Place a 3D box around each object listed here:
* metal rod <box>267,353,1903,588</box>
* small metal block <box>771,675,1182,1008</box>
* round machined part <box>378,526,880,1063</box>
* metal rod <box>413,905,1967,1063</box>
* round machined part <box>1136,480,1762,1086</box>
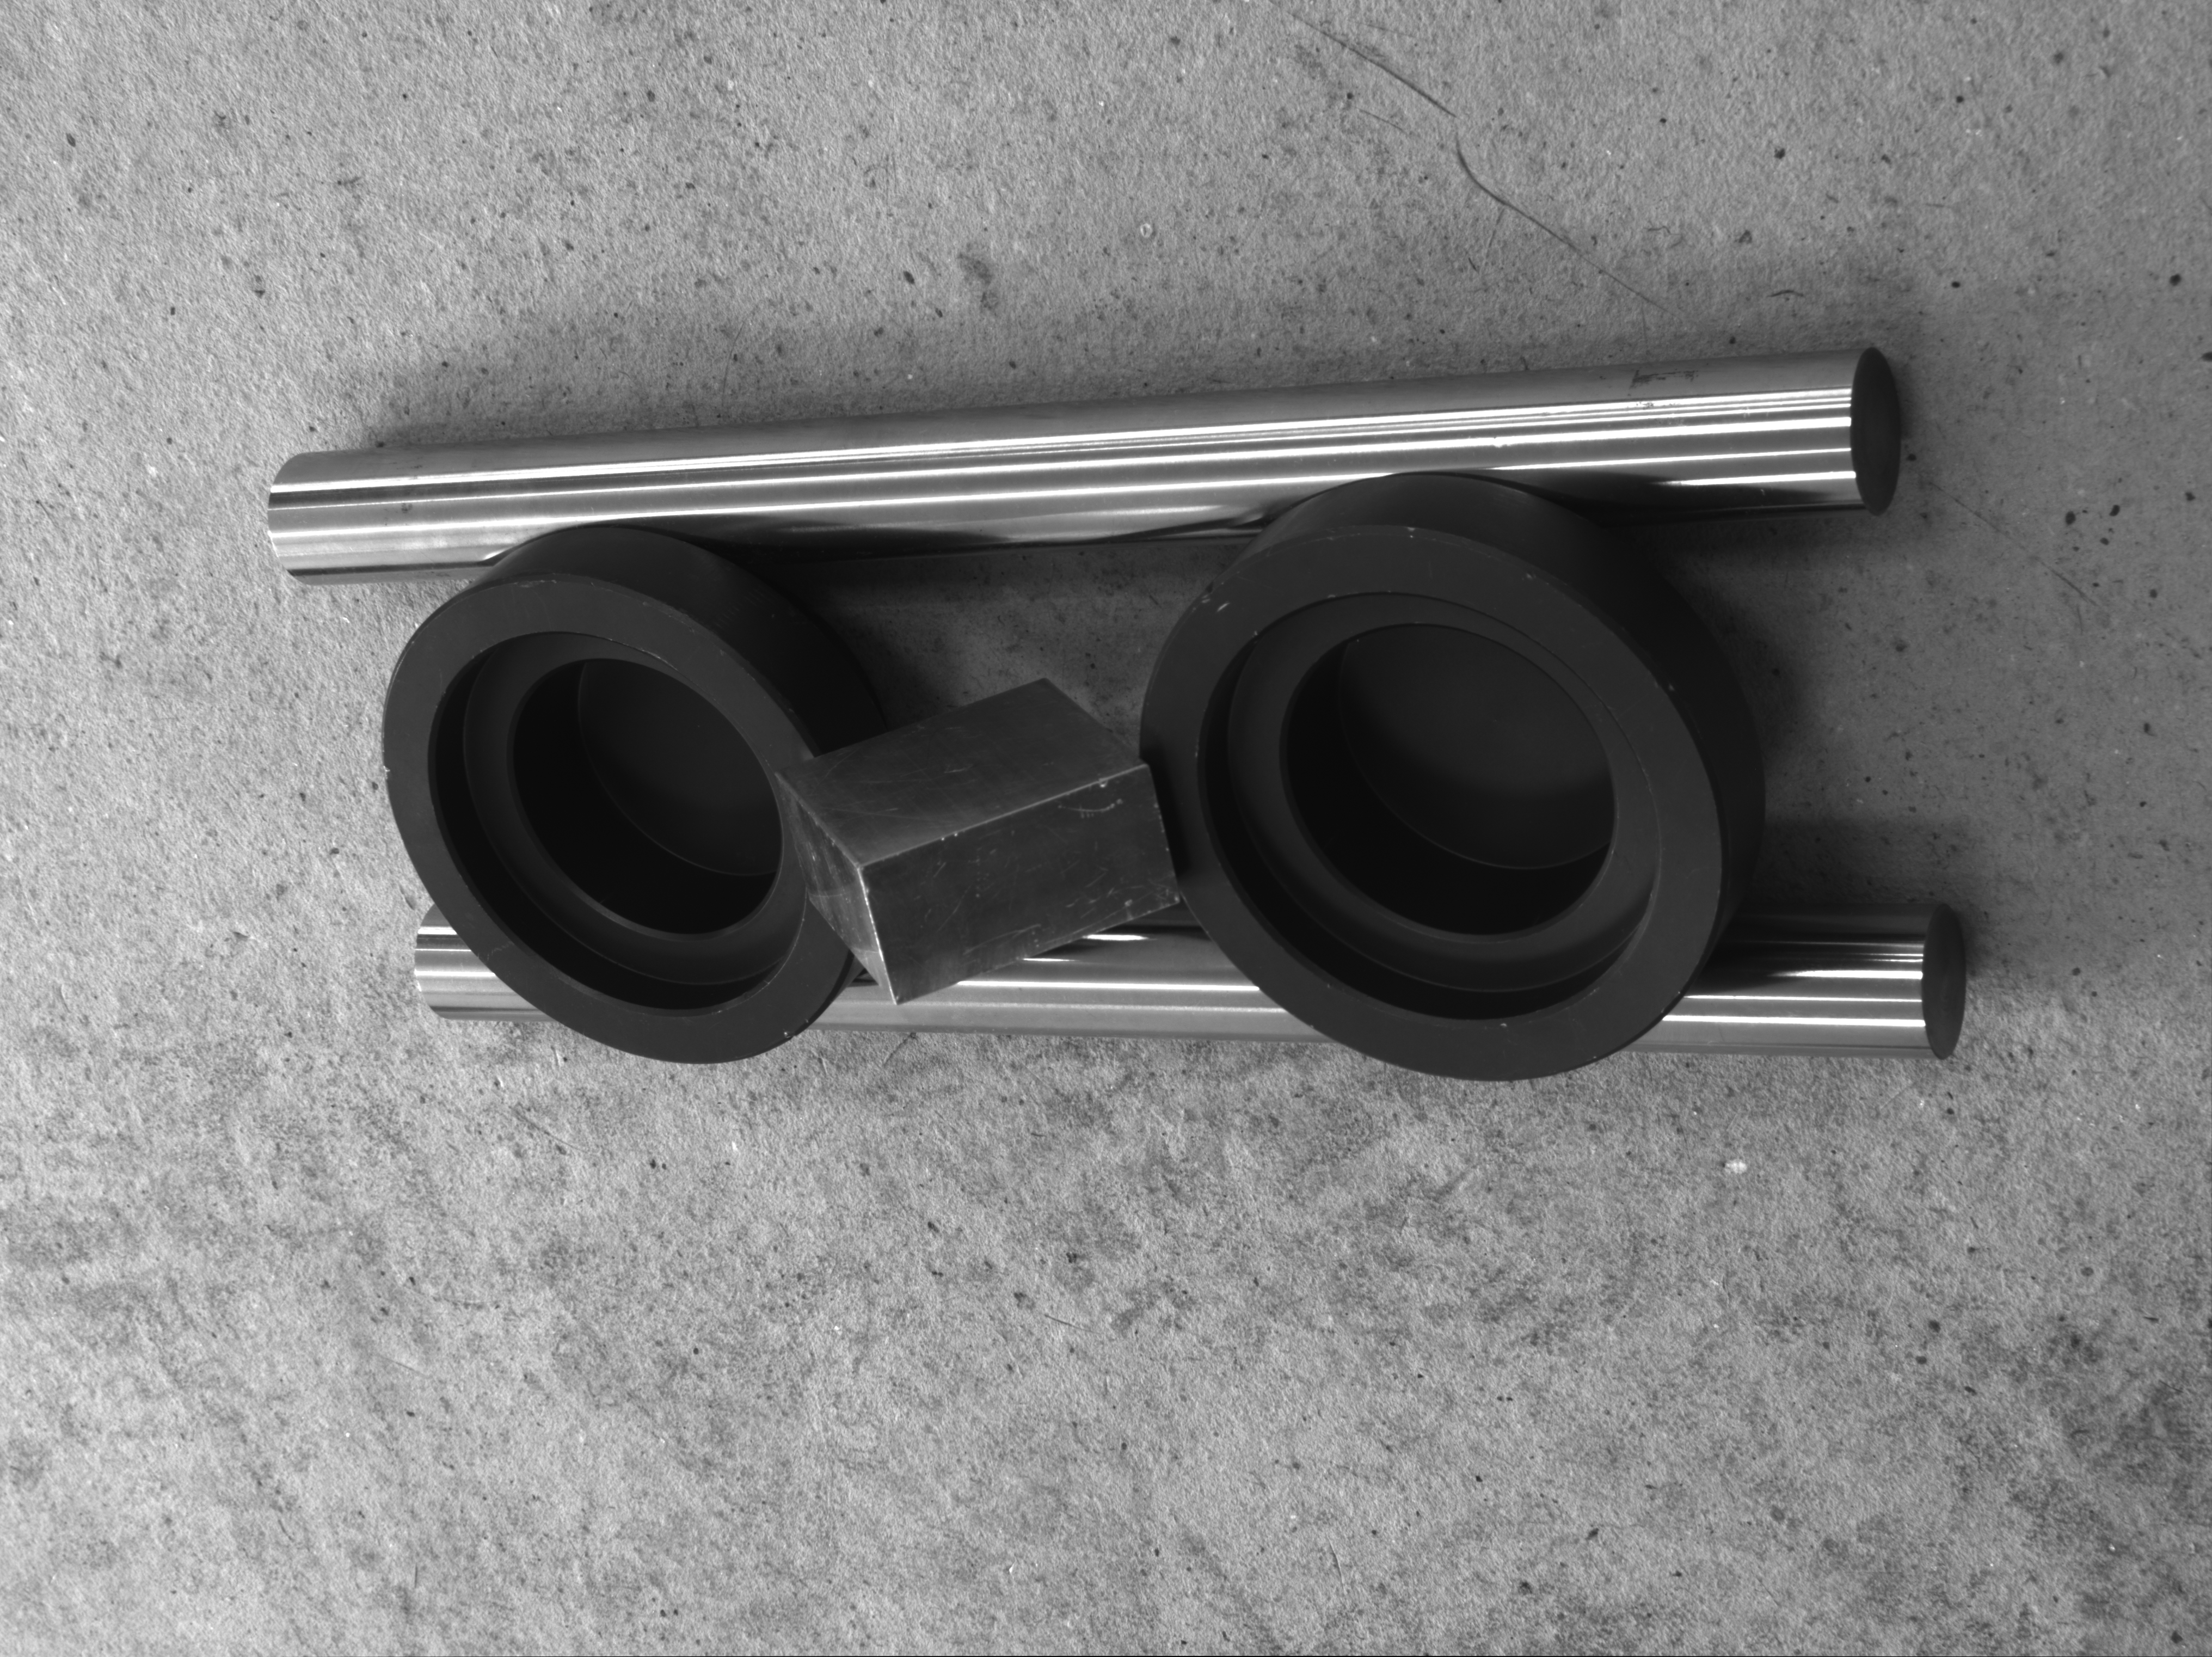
[{"bbox_3d":[-0.017,-0.058,0.616,0.299,0.025,0.025,0,118,28],"label":"metal rod"},{"bbox_3d":[-0.022,0.001,0.605,0.050,0.050,0.025,-138,31,-62],"label":"small metal block"},{"bbox_3d":[-0.079,-0.010,0.663,0.098,0.042,0.098,13,124,21],"label":"round machined part"},{"bbox_3d":[0.002,0.025,0.657,0.299,0.025,0.025,0,118,28],"label":"metal rod"},{"bbox_3d":[0.057,-0.011,0.588,0.098,0.042,0.098,13,124,21],"label":"round machined part"}]
